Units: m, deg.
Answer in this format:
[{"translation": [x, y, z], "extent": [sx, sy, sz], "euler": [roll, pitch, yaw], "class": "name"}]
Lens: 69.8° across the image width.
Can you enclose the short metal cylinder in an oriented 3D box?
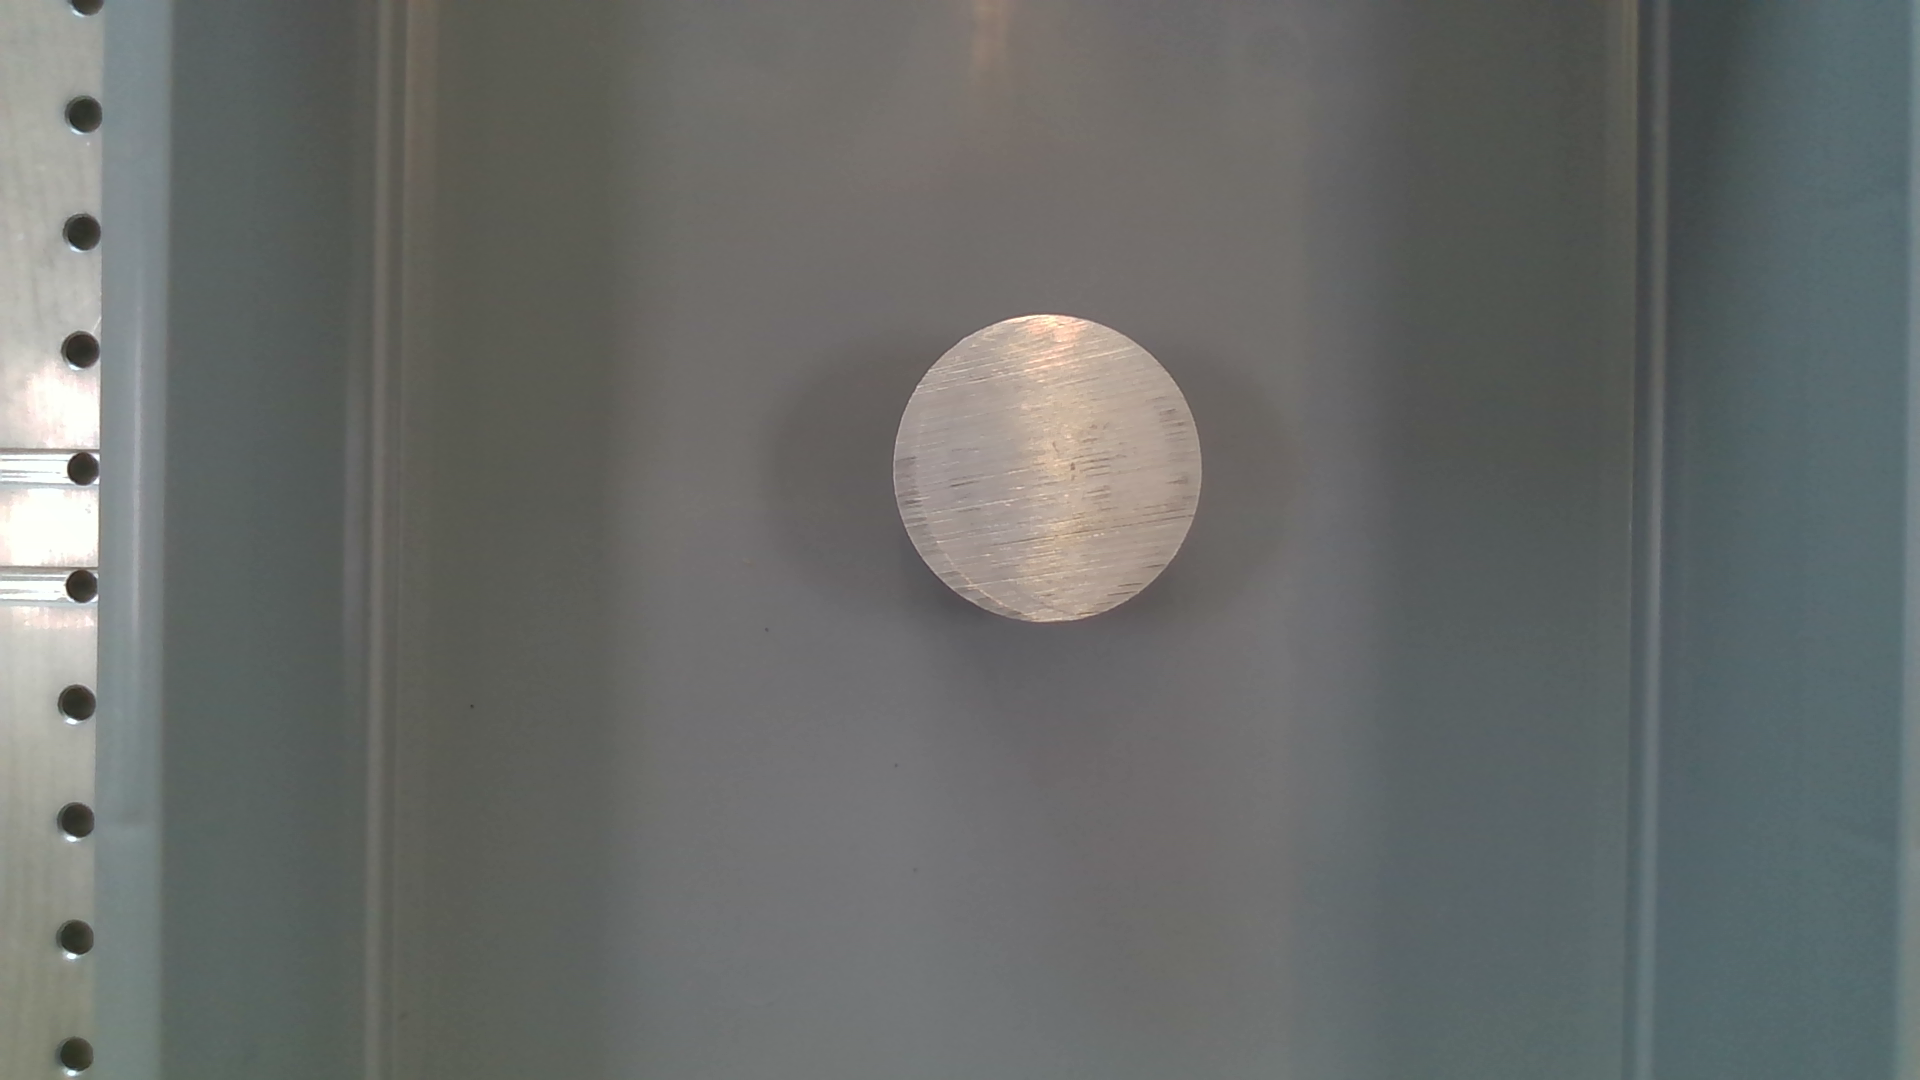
[{"translation": [0.023, -0.019, 0.381], "extent": [0.080, 0.050, 0.080], "euler": [0, 90, 0], "class": "short metal cylinder"}]
